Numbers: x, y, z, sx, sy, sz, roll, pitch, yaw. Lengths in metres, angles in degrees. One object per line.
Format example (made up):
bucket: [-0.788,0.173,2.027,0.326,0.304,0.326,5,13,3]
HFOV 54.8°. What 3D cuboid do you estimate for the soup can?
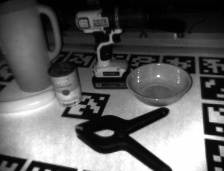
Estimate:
soup can: [-0.127,-0.022,0.576,0.068,0.102,0.067,-4,31,3]

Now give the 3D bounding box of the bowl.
bowl: [0.104,-0.015,0.564,0.161,0.055,0.161,-5,40,5]

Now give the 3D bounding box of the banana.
banana: [-0.254,0.027,0.591,0.198,0.039,0.073,-11,31,-6]

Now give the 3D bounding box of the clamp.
clamp: [0.007,0.083,0.464,0.201,0.037,0.165,3,44,13]

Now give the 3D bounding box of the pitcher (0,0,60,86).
pitcher: [-0.236,-0.124,0.606,0.189,0.244,0.132,-12,36,-4]

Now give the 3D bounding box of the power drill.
power drill: [0.003,-0.124,0.579,0.183,0.188,0.057,1,40,10]
